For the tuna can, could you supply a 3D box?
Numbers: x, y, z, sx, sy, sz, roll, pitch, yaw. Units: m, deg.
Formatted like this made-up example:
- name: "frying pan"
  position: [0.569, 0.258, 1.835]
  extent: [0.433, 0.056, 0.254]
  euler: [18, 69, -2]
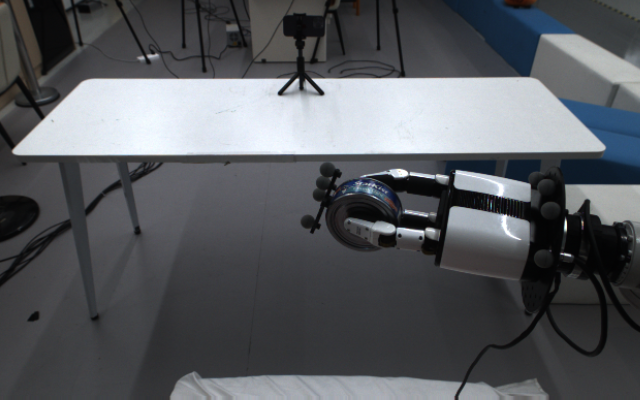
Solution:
- name: "tuna can"
  position: [0.053, 0.017, 0.563]
  extent: [0.085, 0.085, 0.034]
  euler: [9, 35, 10]
